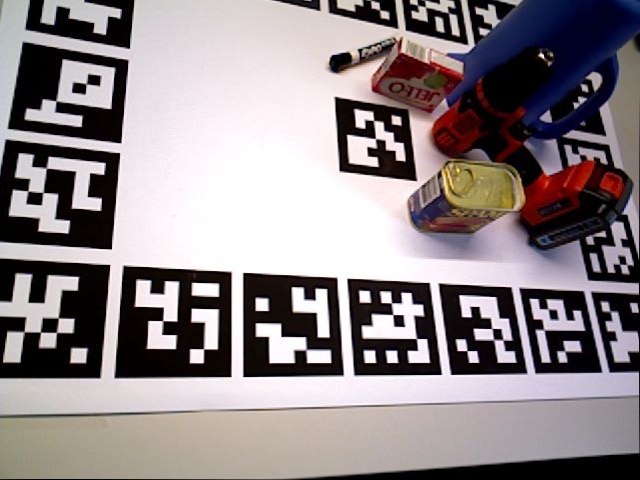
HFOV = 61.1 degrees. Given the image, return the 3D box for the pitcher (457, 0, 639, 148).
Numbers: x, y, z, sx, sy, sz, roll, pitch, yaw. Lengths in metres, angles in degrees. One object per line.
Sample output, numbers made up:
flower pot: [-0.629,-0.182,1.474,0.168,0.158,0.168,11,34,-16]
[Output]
pitcher: [0.282,-0.213,0.636,0.188,0.247,0.131,33,65,0]

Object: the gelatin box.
gelatin box: [0.121,-0.194,0.656,0.088,0.074,0.030,16,69,-17]

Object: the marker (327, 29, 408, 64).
marker: [0.059,-0.241,0.676,0.119,0.020,0.019,-24,82,-25]

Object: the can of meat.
can of meat: [0.158,-0.041,0.607,0.100,0.085,0.057,4,68,-21]

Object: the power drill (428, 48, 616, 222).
power drill: [0.234,-0.112,0.608,0.187,0.188,0.056,40,64,-10]
